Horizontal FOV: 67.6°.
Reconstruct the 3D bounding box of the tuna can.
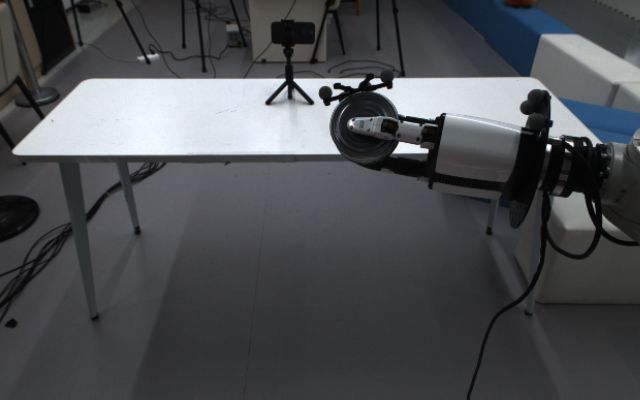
[{"bbox_3d":[0.060,-0.084,0.594,0.085,0.085,0.034,12,-6,15],"label":"tuna can"}]
